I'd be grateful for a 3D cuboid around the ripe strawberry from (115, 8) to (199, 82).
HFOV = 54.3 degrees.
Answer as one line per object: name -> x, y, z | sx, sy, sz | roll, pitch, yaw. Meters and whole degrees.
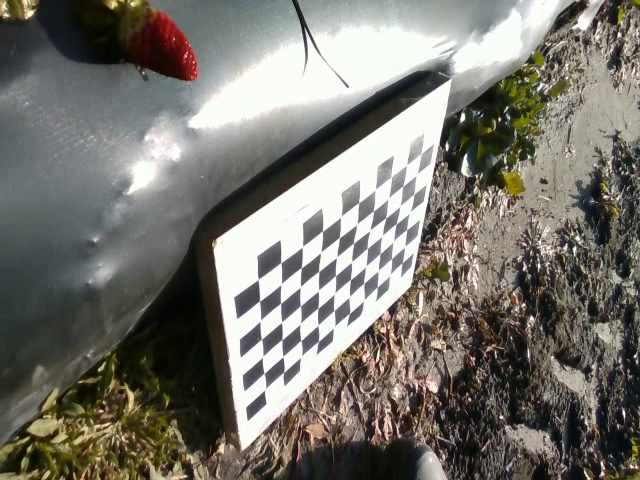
ripe strawberry -> -0.063, -0.078, 0.251 | 0.041, 0.028, 0.031 | 40, -12, -5
